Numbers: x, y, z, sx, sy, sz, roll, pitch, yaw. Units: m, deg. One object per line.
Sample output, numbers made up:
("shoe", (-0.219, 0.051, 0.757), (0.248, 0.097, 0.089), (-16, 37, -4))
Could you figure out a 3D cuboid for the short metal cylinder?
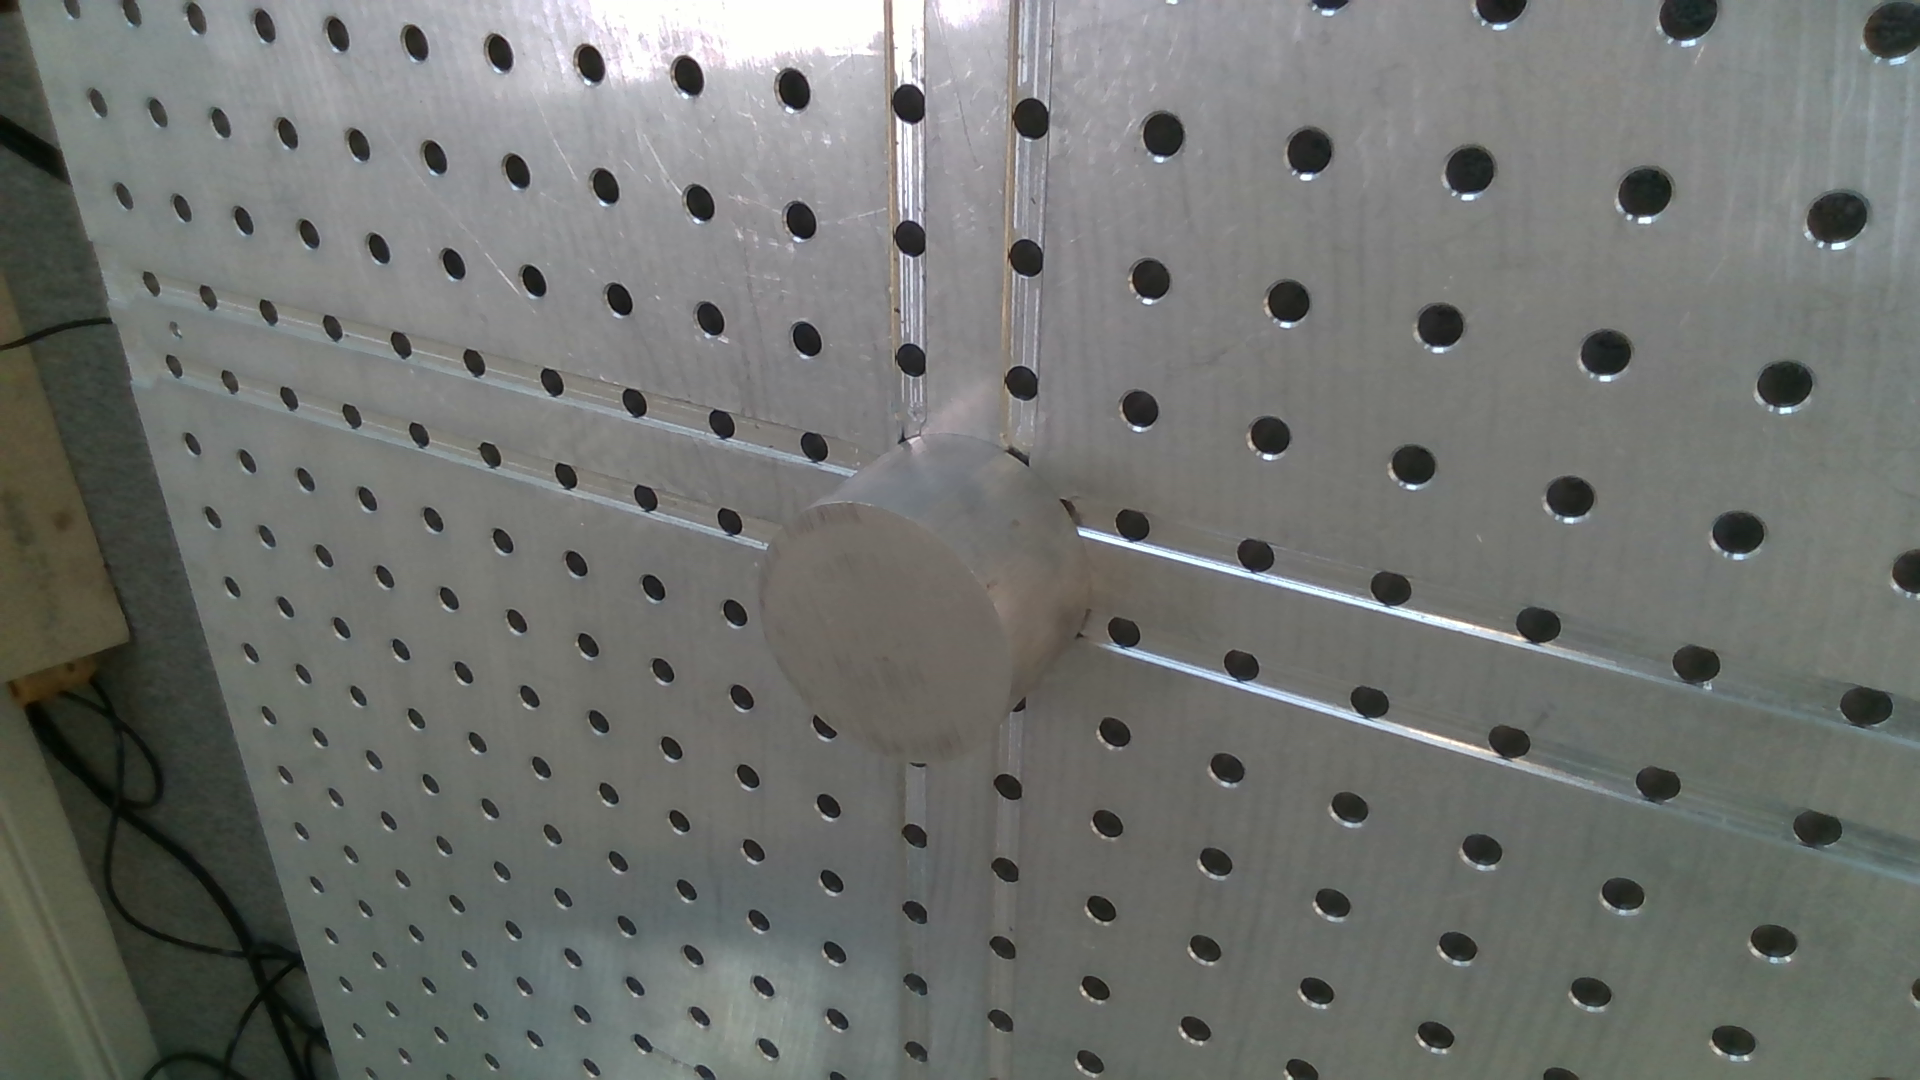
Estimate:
("short metal cylinder", (-0.011, 0.015, 0.390), (0.080, 0.050, 0.080), (14, 122, 25))
